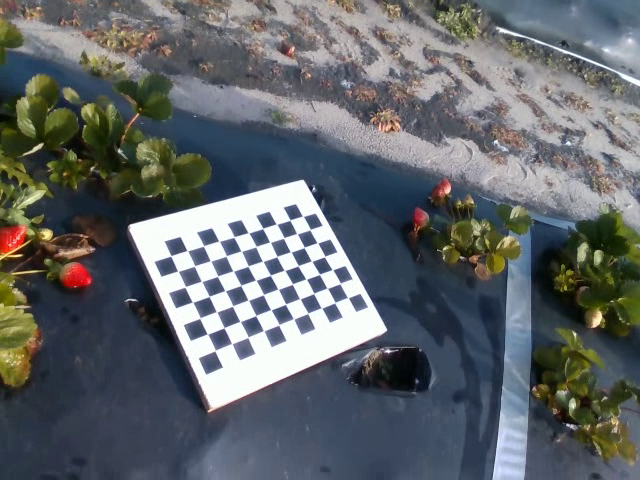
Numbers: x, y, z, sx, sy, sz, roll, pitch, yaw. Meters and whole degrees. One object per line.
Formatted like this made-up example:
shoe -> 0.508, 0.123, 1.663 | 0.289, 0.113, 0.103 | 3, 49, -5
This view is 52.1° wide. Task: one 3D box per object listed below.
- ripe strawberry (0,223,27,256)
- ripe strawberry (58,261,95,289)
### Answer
ripe strawberry -> -0.373, -0.005, 0.777 | 0.048, 0.040, 0.031 | -42, -9, 6
ripe strawberry -> -0.298, 0.045, 0.786 | 0.043, 0.035, 0.030 | 29, -37, -2
